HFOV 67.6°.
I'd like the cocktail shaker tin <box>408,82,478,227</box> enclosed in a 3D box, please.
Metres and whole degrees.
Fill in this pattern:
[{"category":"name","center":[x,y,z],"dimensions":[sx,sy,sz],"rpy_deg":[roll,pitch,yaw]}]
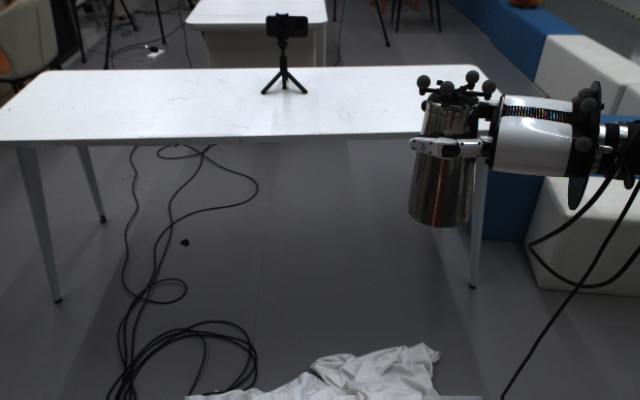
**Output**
[{"category":"cocktail shaker tin","center":[0.177,-0.062,0.667],"dimensions":[0.093,0.170,0.093],"rpy_deg":[-1,32,1]}]
